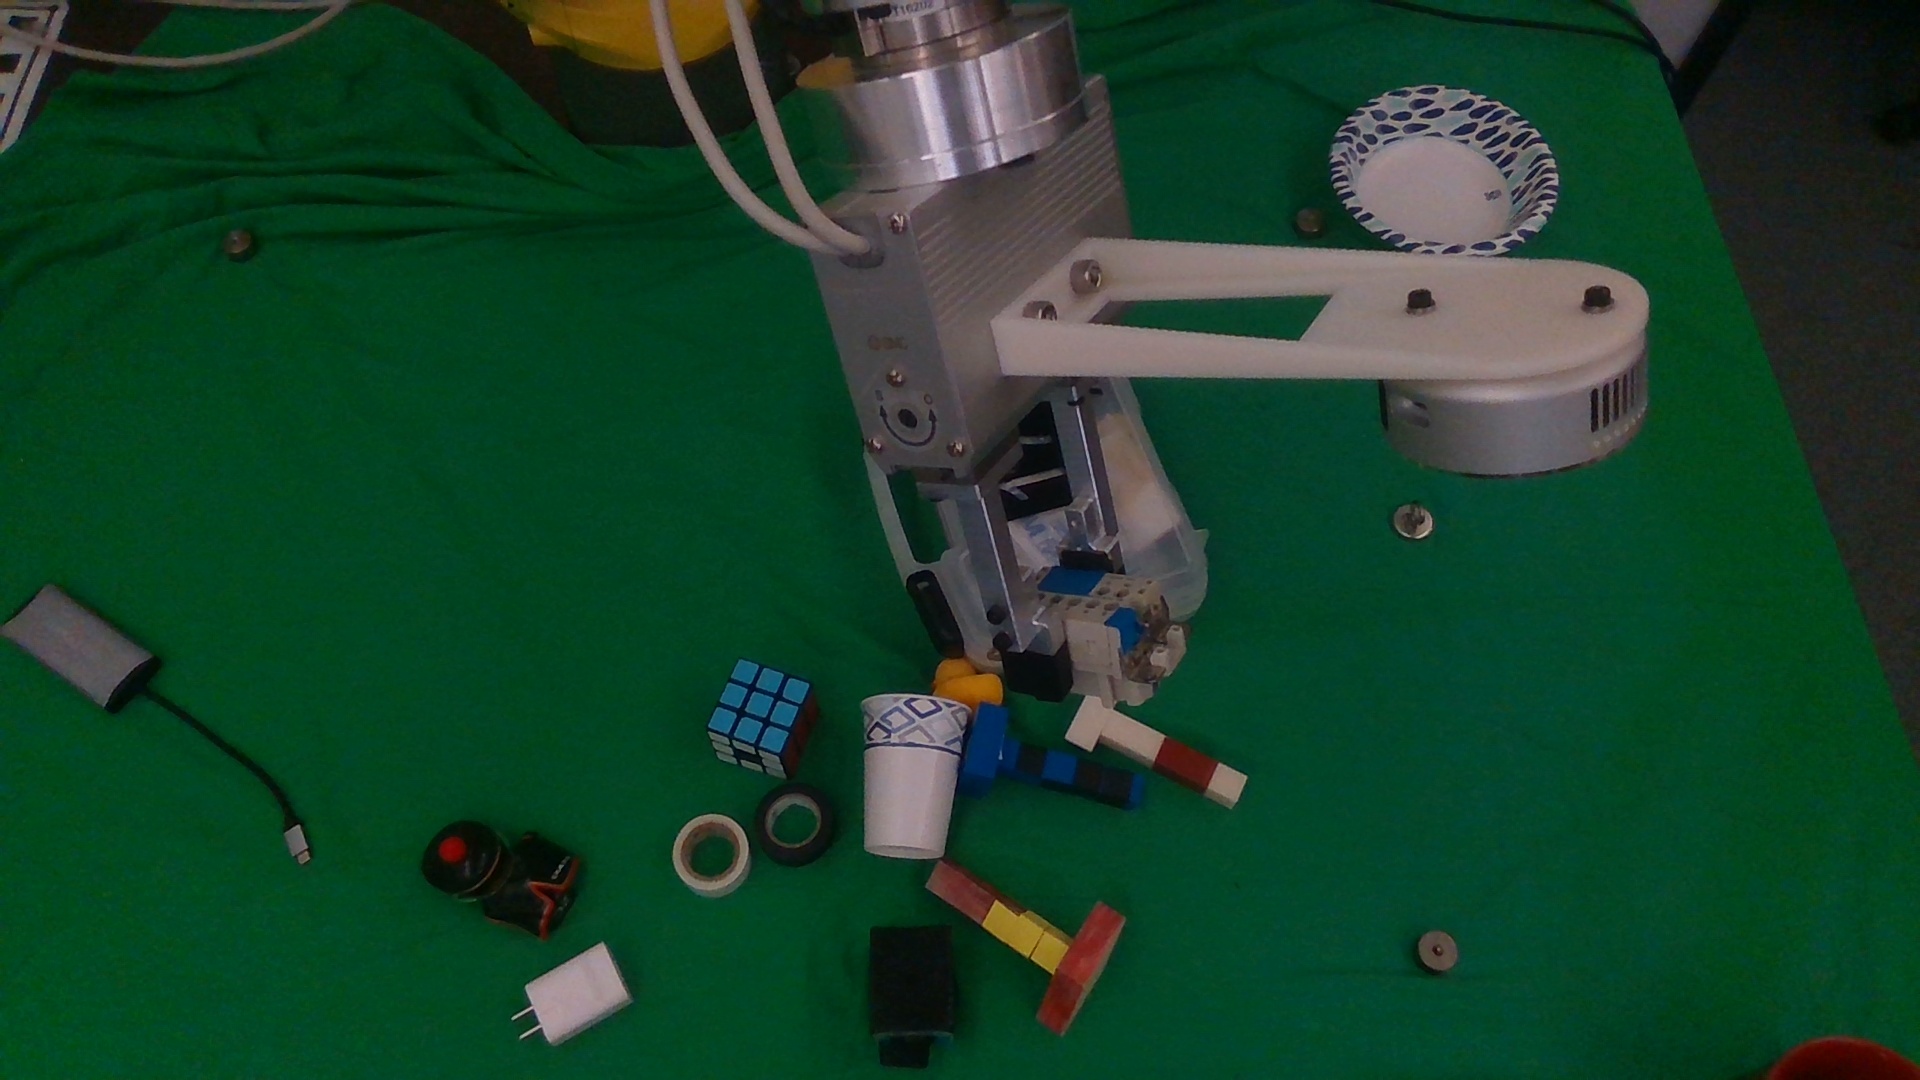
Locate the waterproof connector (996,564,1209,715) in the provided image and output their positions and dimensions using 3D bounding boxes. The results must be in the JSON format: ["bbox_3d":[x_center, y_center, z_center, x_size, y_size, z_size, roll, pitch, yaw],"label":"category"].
[{"bbox_3d":[0.045,0.033,0.452,0.065,0.037,0.035,8,38,37],"label":"waterproof connector"}]

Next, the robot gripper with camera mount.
[{"bbox_3d":[0.091,-0.029,0.393,0.194,0.158,0.119,0,35,29],"label":"robot gripper with camera mount"}]
